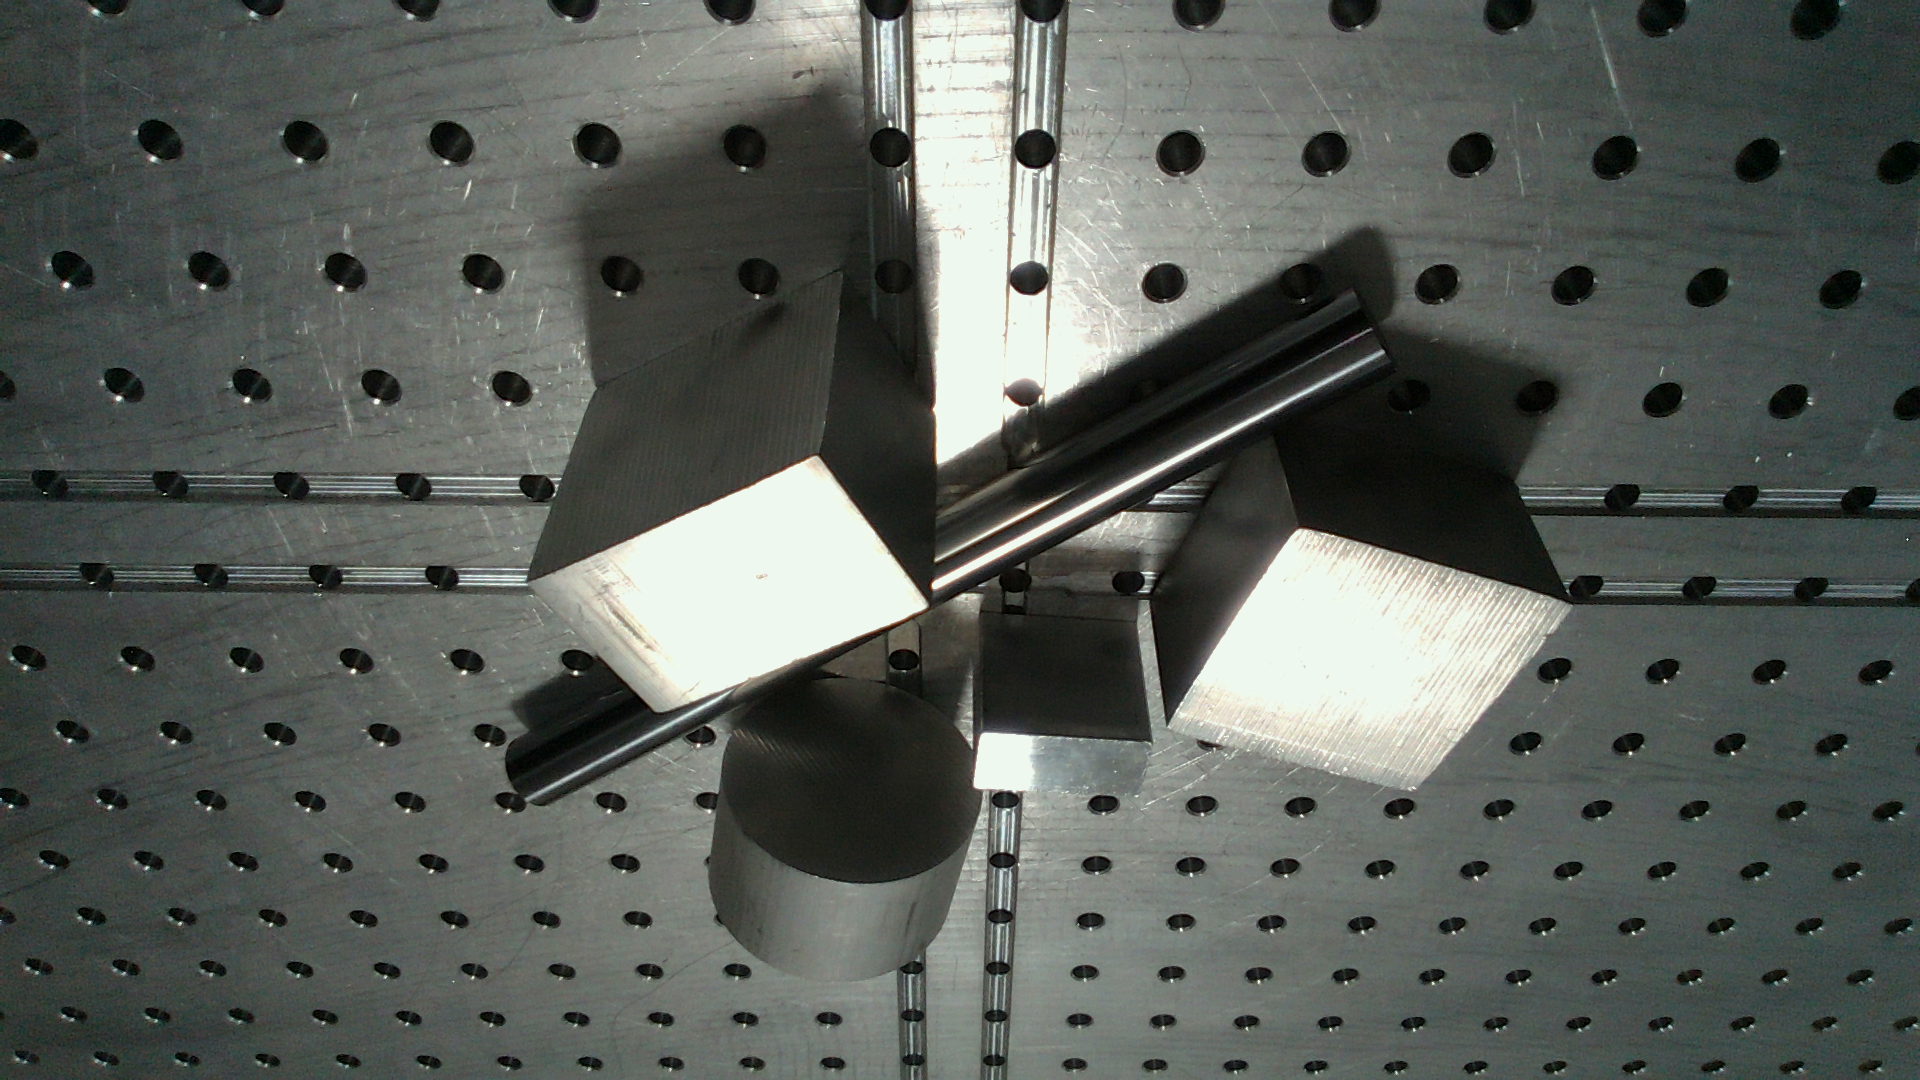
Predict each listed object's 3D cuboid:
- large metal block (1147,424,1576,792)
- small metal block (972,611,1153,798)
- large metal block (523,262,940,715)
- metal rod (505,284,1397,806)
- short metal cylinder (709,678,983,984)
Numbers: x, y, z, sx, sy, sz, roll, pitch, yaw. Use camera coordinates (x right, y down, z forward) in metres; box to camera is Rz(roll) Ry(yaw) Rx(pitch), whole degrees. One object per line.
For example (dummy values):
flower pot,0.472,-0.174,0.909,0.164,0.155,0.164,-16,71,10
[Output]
large metal block,0.109,0.019,0.391,0.080,0.050,0.080,15,129,-12
small metal block,0.030,0.049,0.420,0.050,0.050,0.025,4,130,-3
large metal block,-0.053,-0.014,0.347,0.080,0.080,0.050,-23,127,18
metal rod,-0.018,0.011,0.402,0.299,0.025,0.025,-28,125,21
short metal cylinder,-0.037,0.090,0.433,0.080,0.080,0.050,9,130,-7
